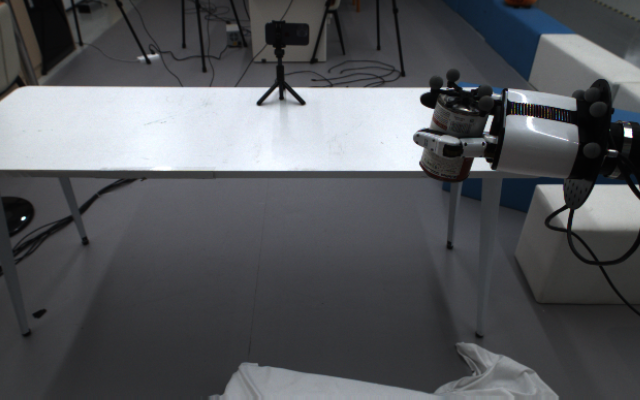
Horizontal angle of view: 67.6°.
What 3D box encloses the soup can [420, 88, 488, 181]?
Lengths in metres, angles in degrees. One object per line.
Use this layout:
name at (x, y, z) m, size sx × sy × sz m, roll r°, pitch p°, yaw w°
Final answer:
soup can at (0.175, -0.083, 0.630) m, size 0.067 × 0.101 × 0.067 m, roll 5°, pitch 36°, yaw -3°
